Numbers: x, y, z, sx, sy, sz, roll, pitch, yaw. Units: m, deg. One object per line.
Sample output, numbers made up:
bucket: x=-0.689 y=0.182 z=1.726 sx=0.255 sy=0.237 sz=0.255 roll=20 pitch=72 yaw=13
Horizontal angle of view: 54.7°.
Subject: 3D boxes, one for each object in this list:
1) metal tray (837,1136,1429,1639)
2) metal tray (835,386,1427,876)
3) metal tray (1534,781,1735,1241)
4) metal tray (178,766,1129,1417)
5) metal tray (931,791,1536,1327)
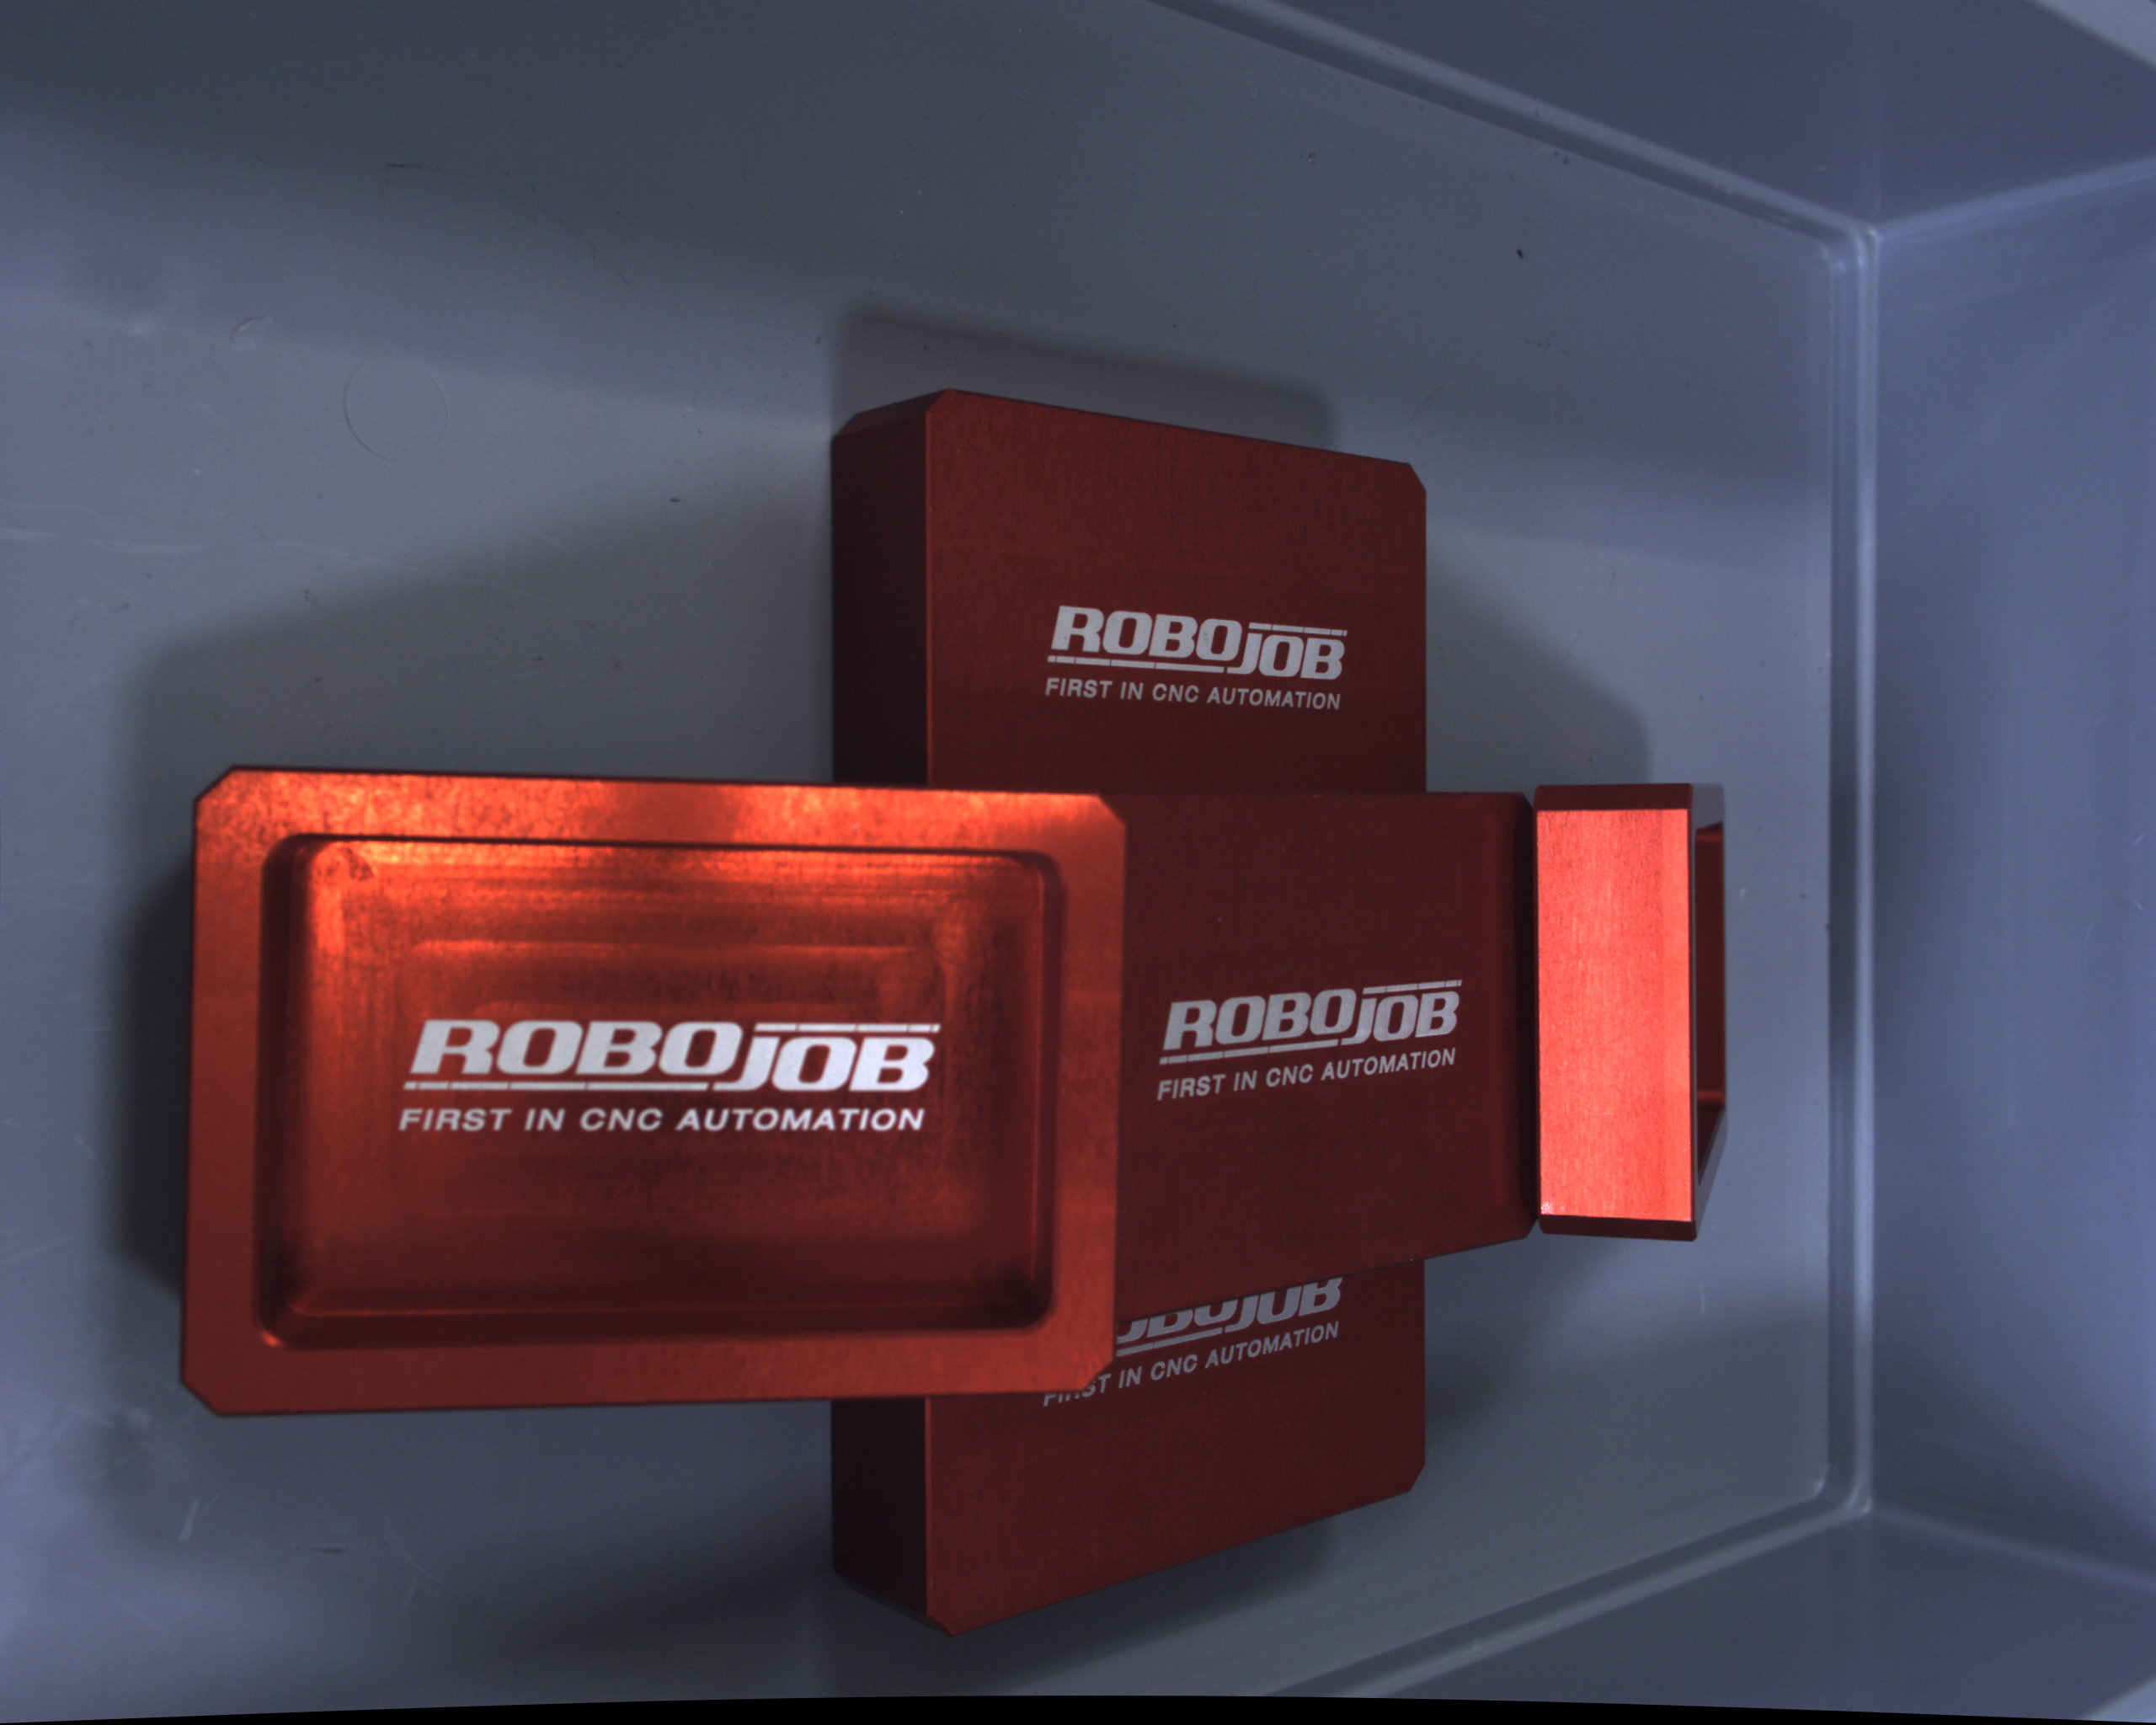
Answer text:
metal tray: x=0.015 y=0.090 z=0.413 sx=0.131 sy=0.030 sz=0.089 roll=-1 pitch=91 yaw=-40
metal tray: x=0.015 y=-0.039 z=0.412 sx=0.131 sy=0.030 sz=0.089 roll=-1 pitch=91 yaw=-40
metal tray: x=0.128 y=0.027 z=0.467 sx=0.130 sy=0.030 sz=0.089 roll=-6 pitch=95 yaw=-69
metal tray: x=-0.060 y=0.033 z=0.311 sx=0.131 sy=0.030 sz=0.089 roll=1 pitch=90 yaw=-11
metal tray: x=0.034 y=0.032 z=0.391 sx=0.131 sy=0.030 sz=0.089 roll=-2 pitch=91 yaw=-40
